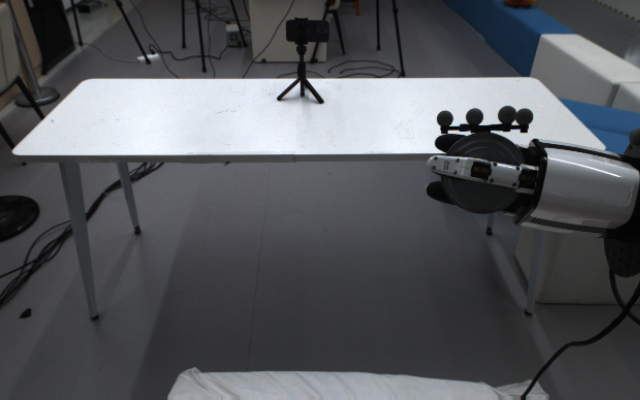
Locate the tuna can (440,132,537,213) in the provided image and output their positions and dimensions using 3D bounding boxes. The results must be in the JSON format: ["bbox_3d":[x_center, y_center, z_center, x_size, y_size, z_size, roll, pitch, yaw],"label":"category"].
[{"bbox_3d":[0.176,-0.031,0.523,0.085,0.085,0.034,13,7,15],"label":"tuna can"}]
